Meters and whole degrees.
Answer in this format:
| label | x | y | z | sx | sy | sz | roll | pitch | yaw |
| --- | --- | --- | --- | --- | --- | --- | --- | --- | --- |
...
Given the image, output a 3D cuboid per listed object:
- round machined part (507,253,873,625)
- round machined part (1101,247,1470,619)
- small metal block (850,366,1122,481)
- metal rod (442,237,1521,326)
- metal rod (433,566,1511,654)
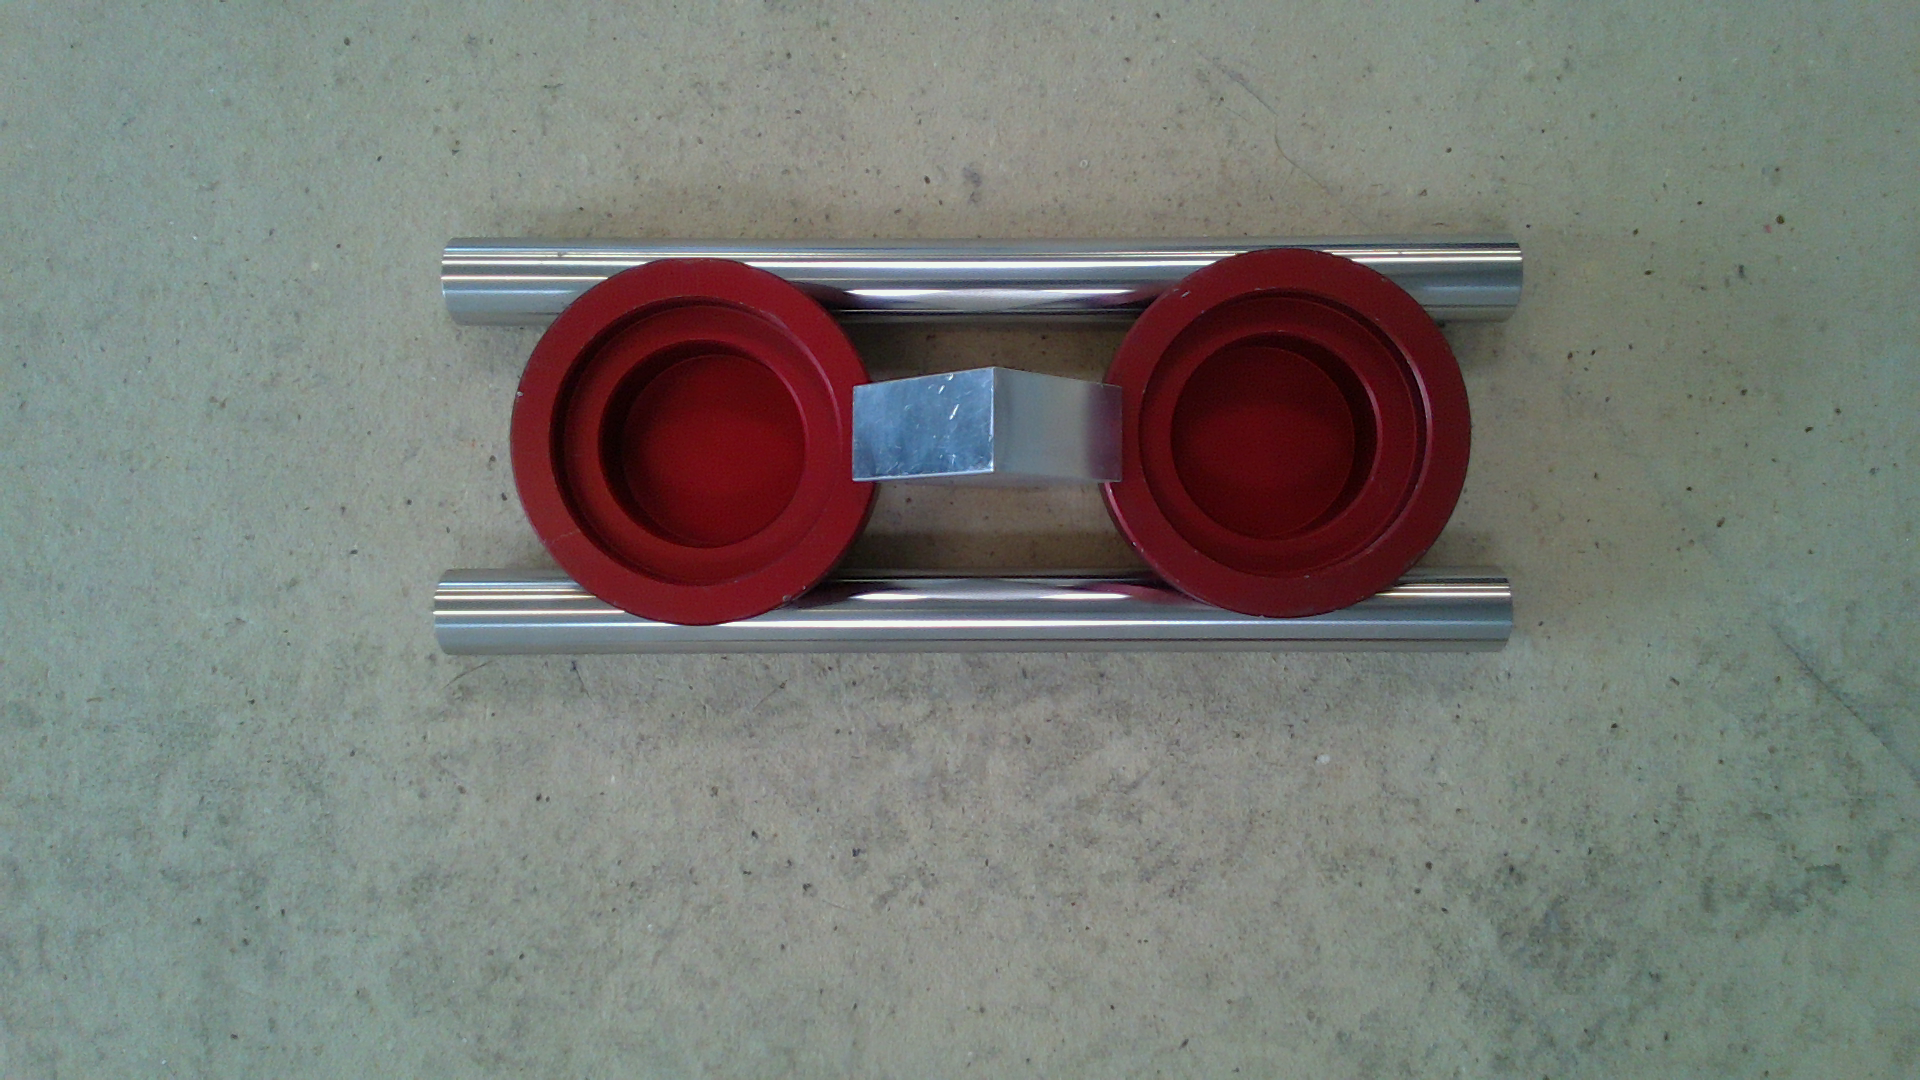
| label | x | y | z | sx | sy | sz | roll | pitch | yaw |
| --- | --- | --- | --- | --- | --- | --- | --- | --- | --- |
| round machined part | -0.070 | -0.027 | 0.382 | 0.098 | 0.042 | 0.098 | 0 | 90 | 0 |
| round machined part | 0.085 | -0.028 | 0.382 | 0.098 | 0.042 | 0.098 | 0 | 90 | 0 |
| small metal block | 0.007 | -0.028 | 0.357 | 0.050 | 0.050 | 0.025 | -1 | 89 | 43 |
| metal rod | 0.006 | -0.074 | 0.395 | 0.300 | 0.025 | 0.025 | 0 | 90 | 0 |
| metal rod | 0.004 | 0.020 | 0.395 | 0.300 | 0.025 | 0.025 | 0 | 90 | 0 |
